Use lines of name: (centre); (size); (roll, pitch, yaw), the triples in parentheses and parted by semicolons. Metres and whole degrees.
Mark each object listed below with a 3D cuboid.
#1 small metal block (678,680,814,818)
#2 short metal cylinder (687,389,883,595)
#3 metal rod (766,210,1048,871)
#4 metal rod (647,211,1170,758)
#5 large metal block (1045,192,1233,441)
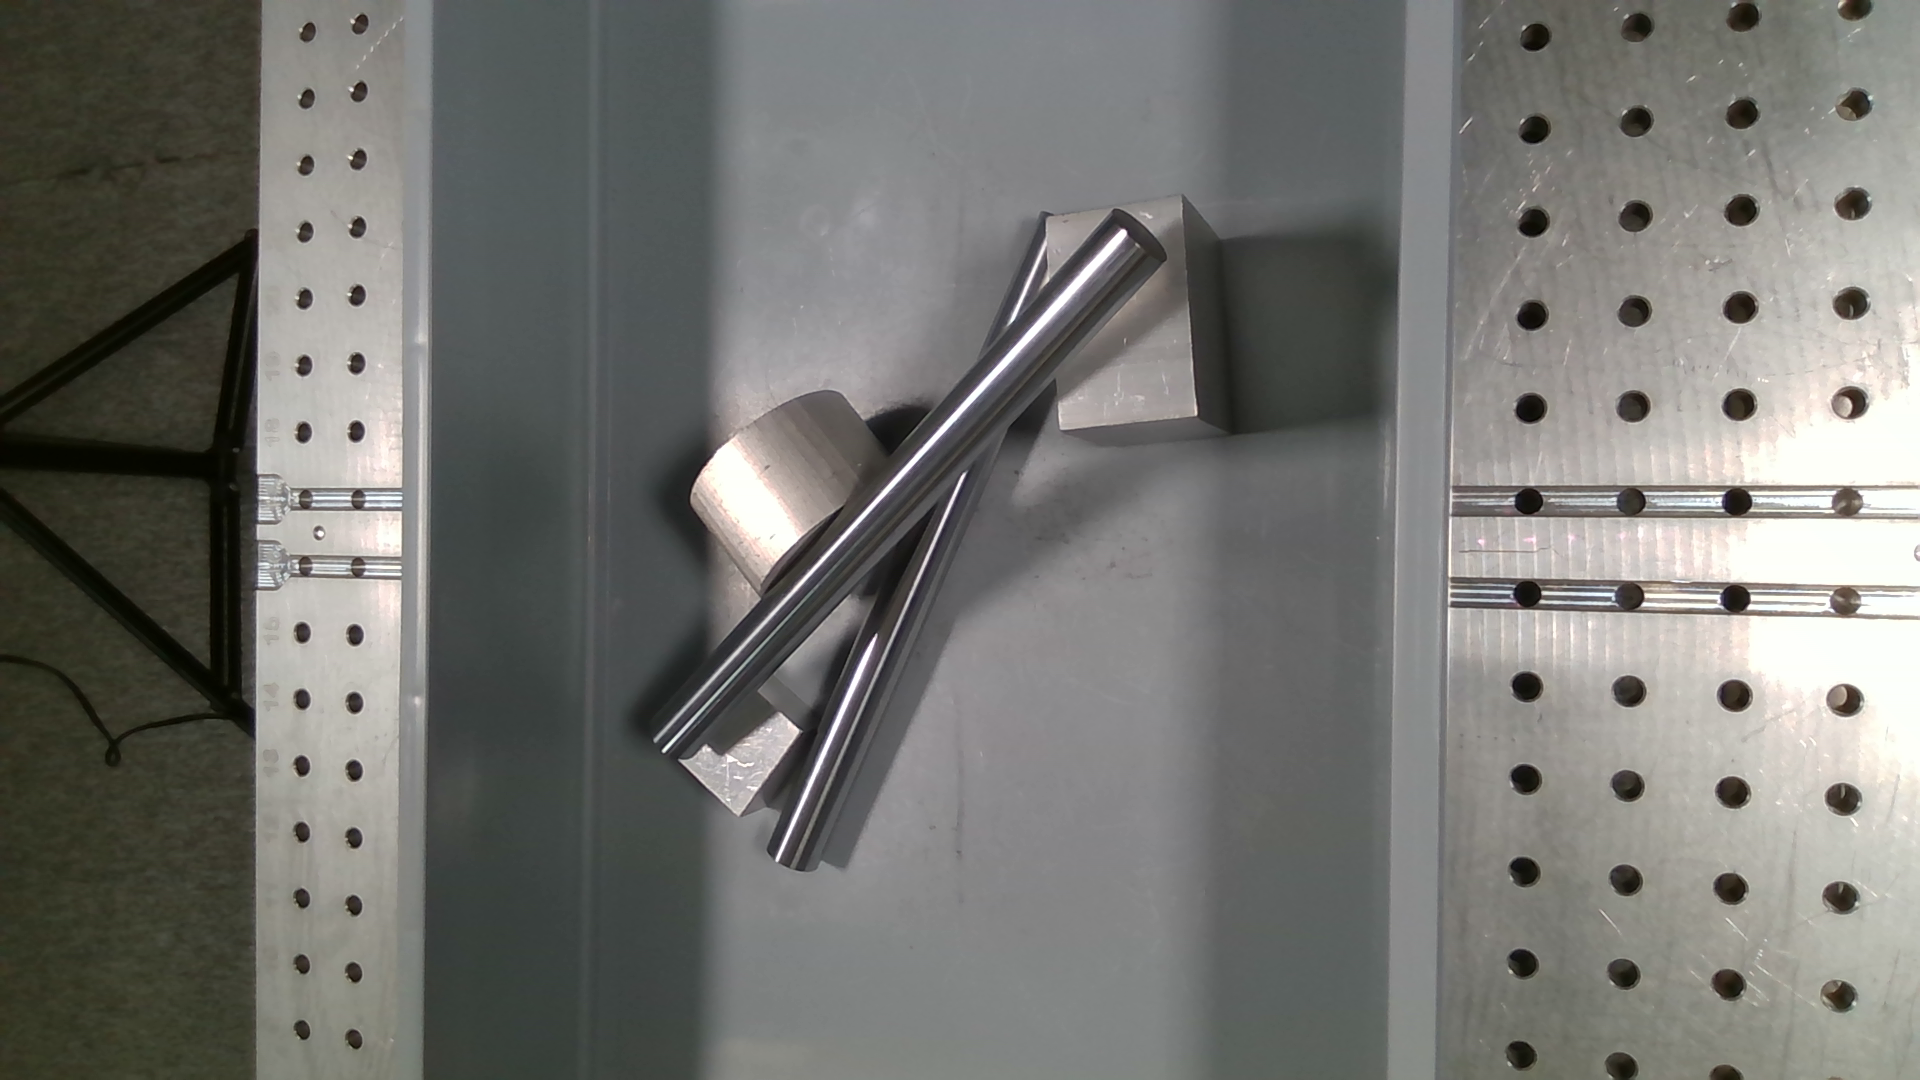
small metal block: (-0.098, 0.088, 0.622); (0.050, 0.025, 0.050); (40, 103, 16)
short metal cylinder: (-0.067, -0.018, 0.579); (0.080, 0.080, 0.050); (-42, 77, 16)
metal rod: (-0.015, 0.005, 0.590); (0.025, 0.025, 0.300); (27, 99, 18)
metal rod: (-0.032, -0.009, 0.534); (0.301, 0.025, 0.025); (-45, 76, 28)
large metal block: (0.071, -0.081, 0.529); (0.050, 0.080, 0.080); (-4, 89, 20)
